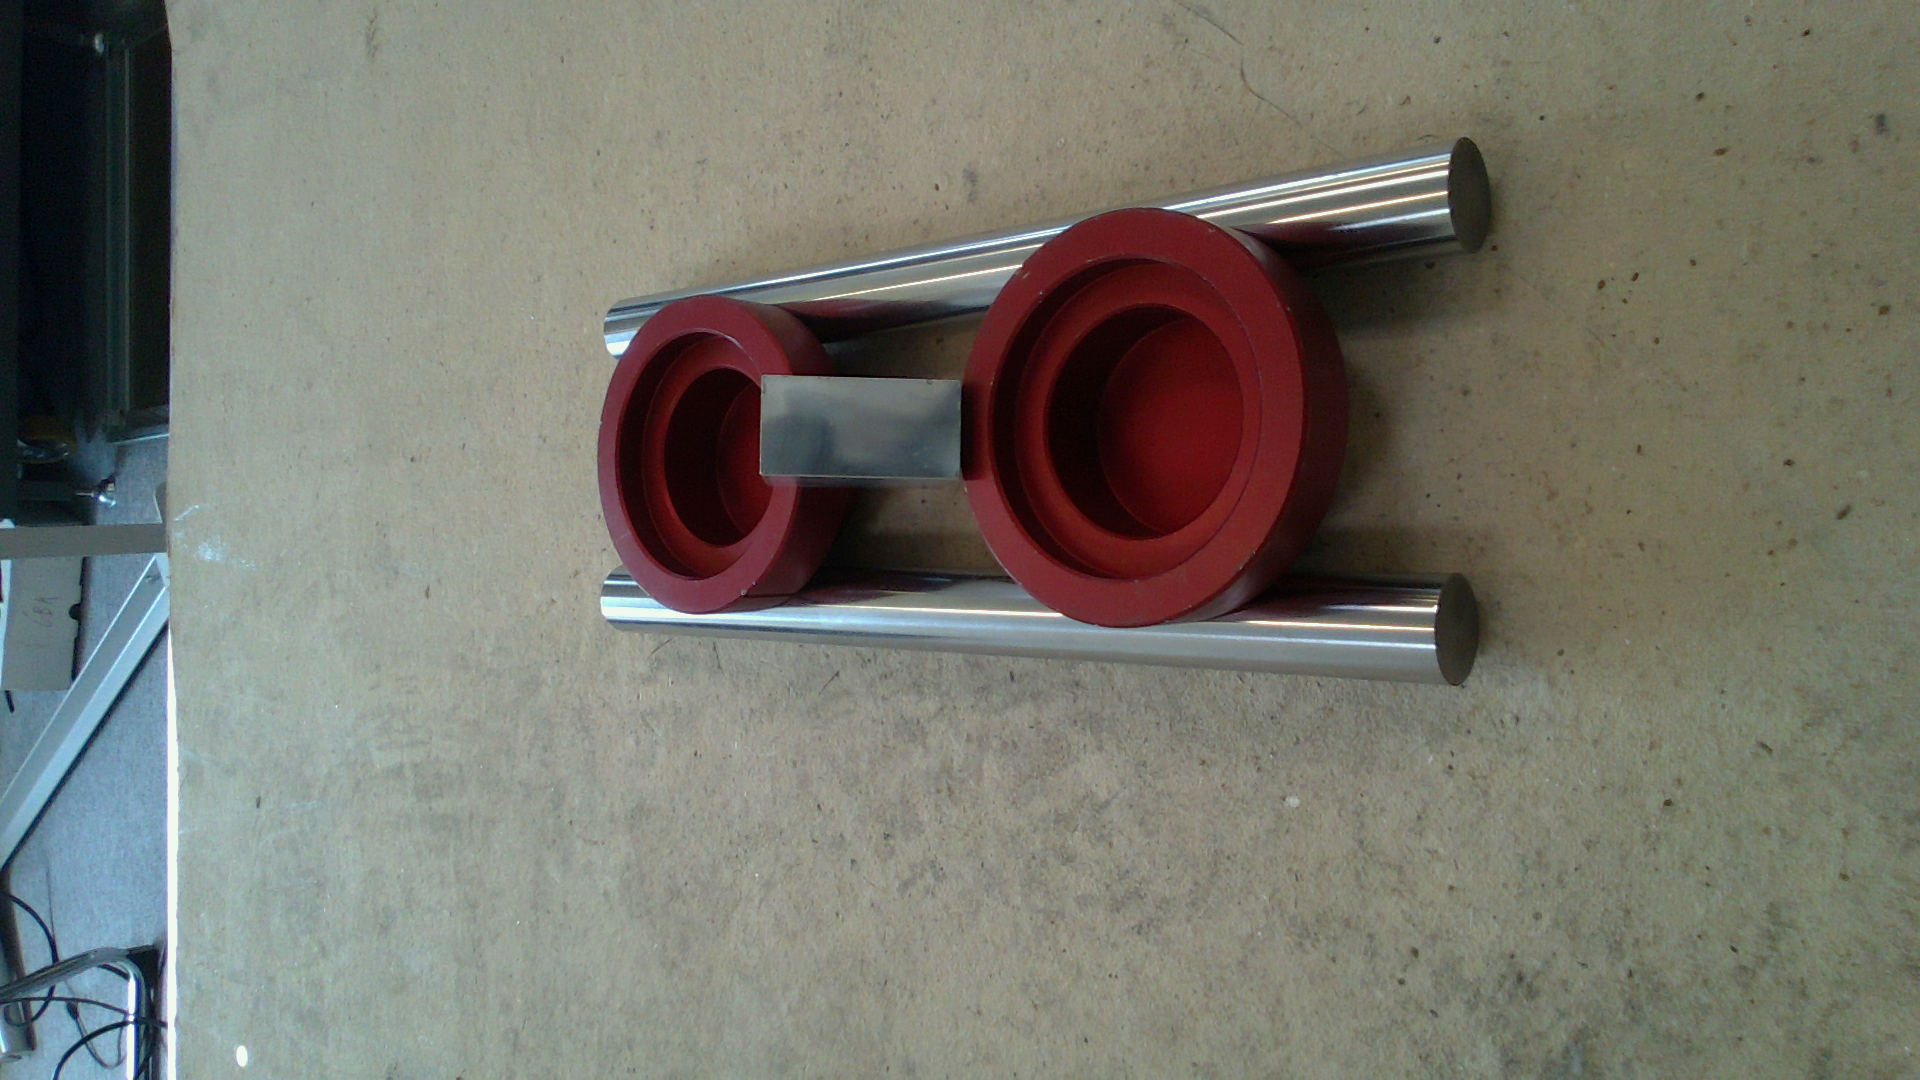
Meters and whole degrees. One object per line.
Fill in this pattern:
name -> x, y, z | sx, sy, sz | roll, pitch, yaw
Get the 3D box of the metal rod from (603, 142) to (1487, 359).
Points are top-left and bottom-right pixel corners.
metal rod -> -0.003, -0.074, 0.397 | 0.299, 0.025, 0.025 | 0, 90, 40

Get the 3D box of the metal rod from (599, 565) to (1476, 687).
metal rod -> -0.005, 0.020, 0.399 | 0.299, 0.025, 0.025 | 0, 90, 40

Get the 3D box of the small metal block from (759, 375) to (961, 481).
small metal block -> -0.028, -0.028, 0.367 | 0.050, 0.050, 0.025 | 176, 95, -83

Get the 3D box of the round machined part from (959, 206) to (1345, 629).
round machined part -> 0.049, -0.028, 0.336 | 0.098, 0.042, 0.098 | 0, 90, 40

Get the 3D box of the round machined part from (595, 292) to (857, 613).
round machined part -> -0.070, -0.027, 0.437 | 0.098, 0.042, 0.098 | 0, 90, 40
